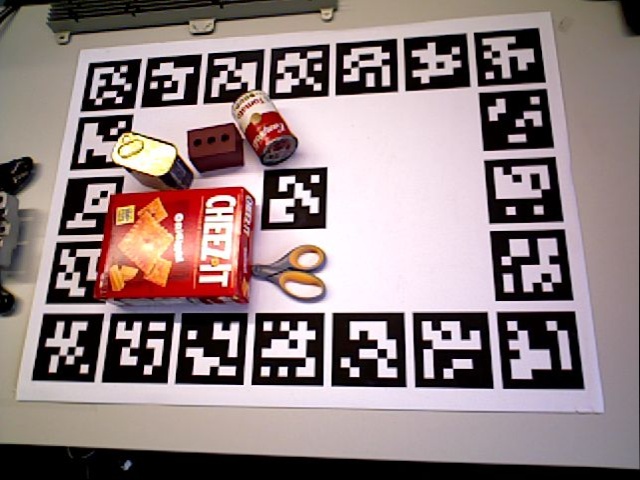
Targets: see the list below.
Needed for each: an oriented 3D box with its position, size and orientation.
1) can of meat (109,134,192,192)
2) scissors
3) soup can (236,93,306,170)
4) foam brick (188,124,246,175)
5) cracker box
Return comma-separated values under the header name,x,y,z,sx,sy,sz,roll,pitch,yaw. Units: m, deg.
name,x,y,z,sx,sy,sz,roll,pitch,yaw
can of meat,-0.257,-0.116,0.833,0.102,0.084,0.057,14,76,12
scissors,-0.094,0.059,0.783,0.203,0.016,0.087,-5,74,8
soup can,-0.077,-0.168,0.838,0.067,0.068,0.101,-36,67,-3
foam brick,-0.159,-0.141,0.845,0.078,0.052,0.052,-10,73,5
cracker box,-0.211,0.016,0.781,0.214,0.072,0.163,-6,72,11
